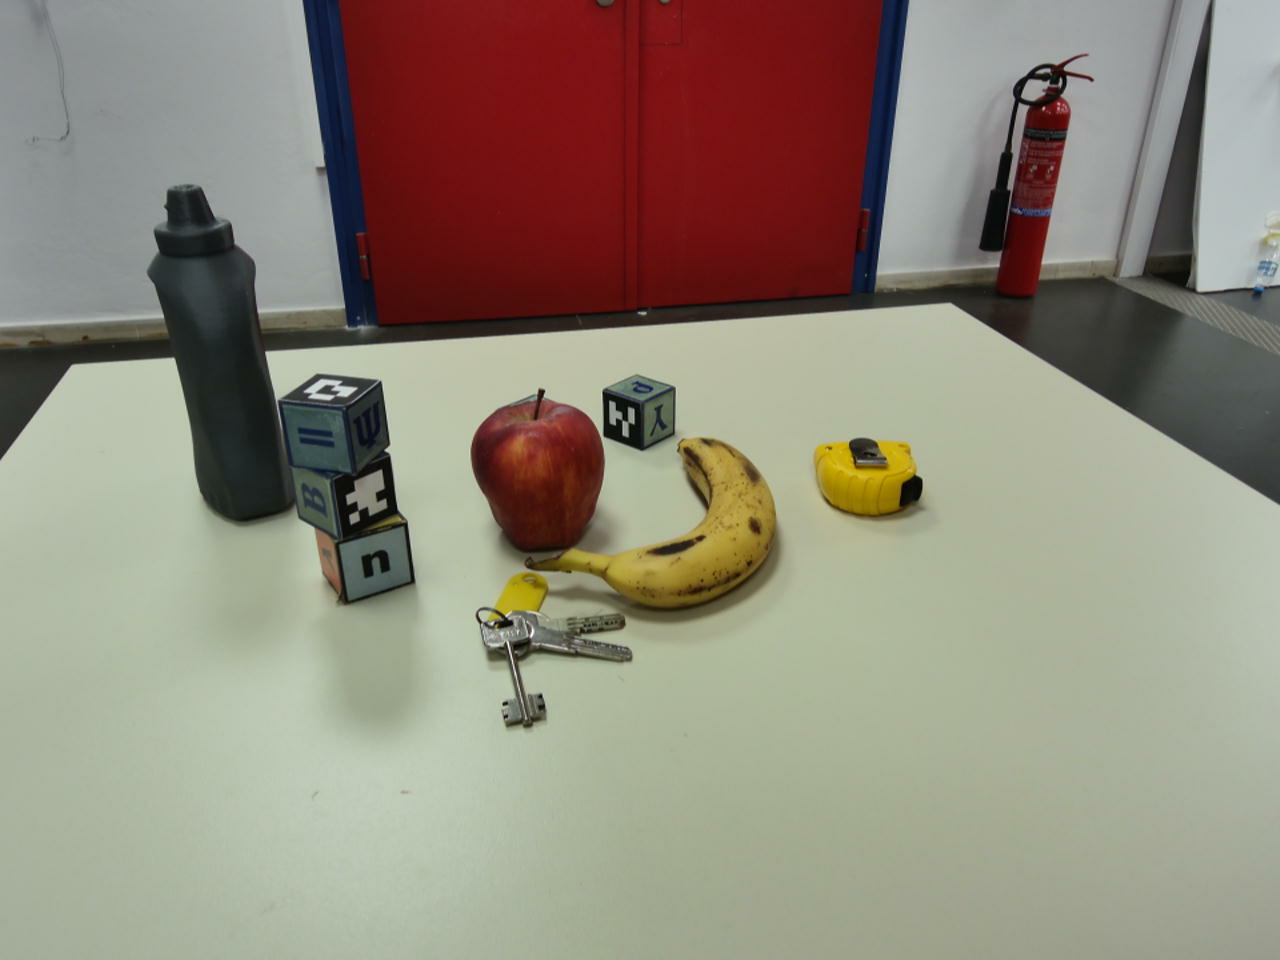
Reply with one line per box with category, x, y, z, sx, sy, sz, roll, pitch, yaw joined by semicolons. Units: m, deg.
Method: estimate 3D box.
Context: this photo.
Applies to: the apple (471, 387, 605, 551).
apple;-0.059;-0.009;0.574;0.083;0.090;0.083;0;26;0
